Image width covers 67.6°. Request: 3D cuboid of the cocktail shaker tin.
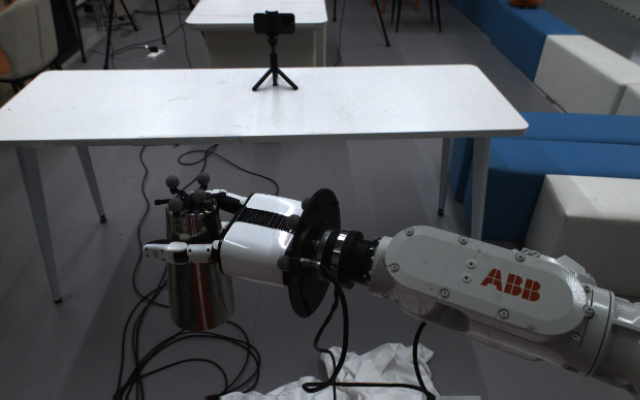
[{"bbox_3d":[-0.165,0.082,0.659,0.093,0.170,0.093,1,26,-1],"label":"cocktail shaker tin"}]
